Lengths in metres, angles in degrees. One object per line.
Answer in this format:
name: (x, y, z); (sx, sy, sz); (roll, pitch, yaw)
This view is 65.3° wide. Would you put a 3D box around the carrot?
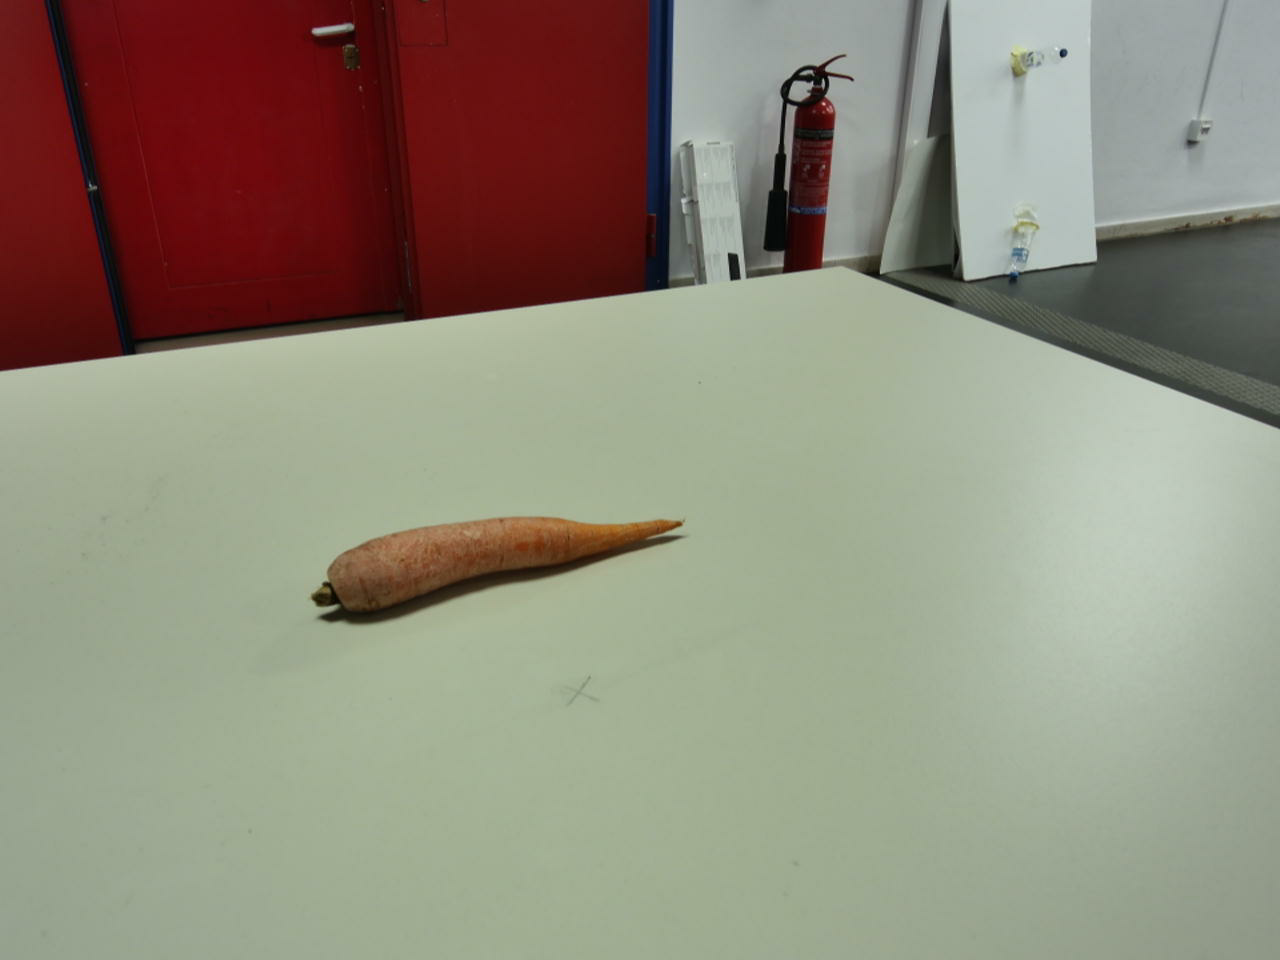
carrot: (-0.057, 0.028, 0.428); (0.163, 0.029, 0.031); (-12, 27, -24)
